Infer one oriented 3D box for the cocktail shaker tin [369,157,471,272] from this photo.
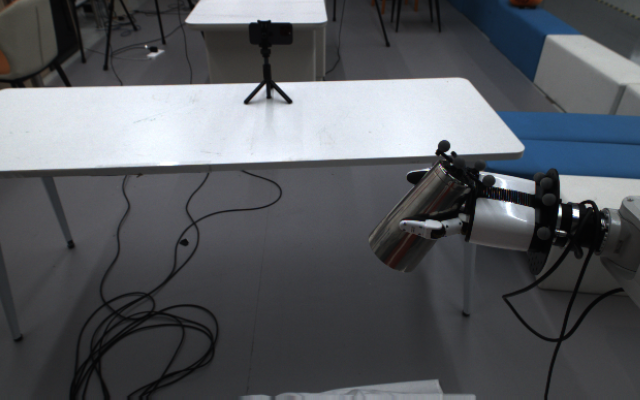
[{"bbox_3d":[0.159,0.017,0.747,0.093,0.170,0.093,26,31,-17],"label":"cocktail shaker tin"}]
